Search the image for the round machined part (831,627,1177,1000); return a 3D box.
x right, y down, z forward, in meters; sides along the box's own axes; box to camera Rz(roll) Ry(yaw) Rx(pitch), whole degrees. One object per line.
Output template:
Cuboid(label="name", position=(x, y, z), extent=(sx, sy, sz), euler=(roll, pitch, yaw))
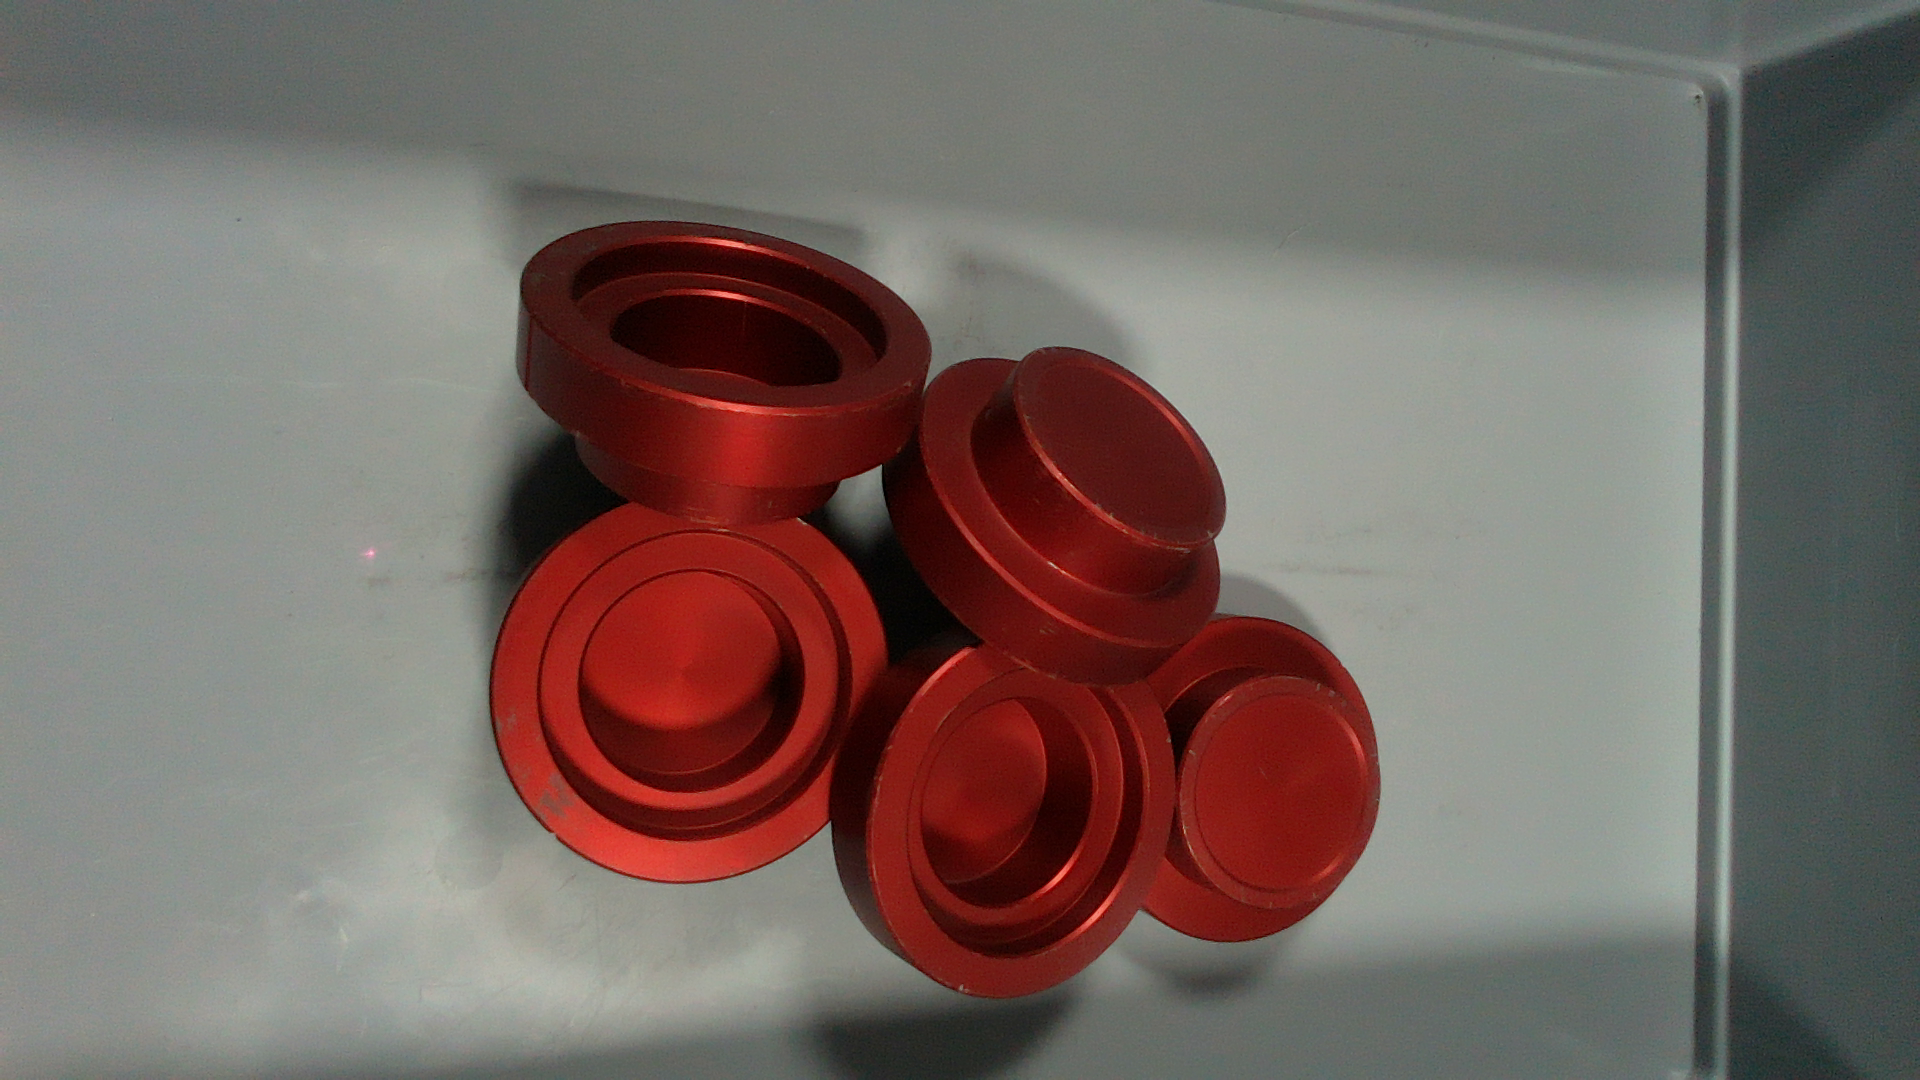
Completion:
Cuboid(label="round machined part", position=(0.008, 0.069, 0.374), extent=(0.098, 0.042, 0.098), euler=(-5, 98, -32))

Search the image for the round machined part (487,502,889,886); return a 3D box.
Cuboid(label="round machined part", position=(-0.071, 0.036, 0.357), extent=(0.098, 0.042, 0.098), euler=(0, 90, -20))

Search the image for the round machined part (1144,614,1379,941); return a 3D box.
Cuboid(label="round machined part", position=(0.085, 0.072, 0.414), extent=(0.098, 0.042, 0.098), euler=(0, 90, -20))

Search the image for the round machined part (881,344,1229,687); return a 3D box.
Cuboid(label="round machined part", position=(0.032, -0.013, 0.366), extent=(0.098, 0.042, 0.098), euler=(24, 40, -21))

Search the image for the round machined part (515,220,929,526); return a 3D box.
Cuboid(label="round machined part", position=(-0.060, -0.040, 0.342), extent=(0.098, 0.098, 0.042), euler=(3, 125, -20))
